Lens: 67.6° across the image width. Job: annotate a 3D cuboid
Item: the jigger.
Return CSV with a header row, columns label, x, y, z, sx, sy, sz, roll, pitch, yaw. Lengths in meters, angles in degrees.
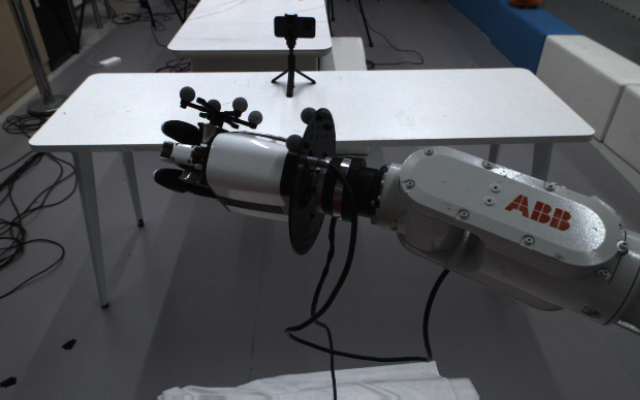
label,x,y,z,sx,sy,sz,roll,pitch,yaw
jigger,-0.127,-0.049,0.556,0.043,0.071,0.043,15,-7,2
